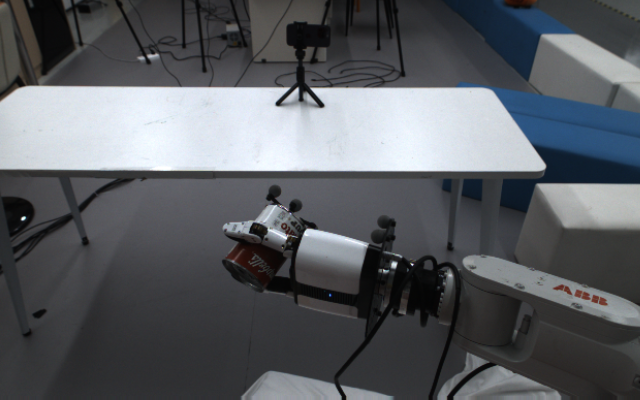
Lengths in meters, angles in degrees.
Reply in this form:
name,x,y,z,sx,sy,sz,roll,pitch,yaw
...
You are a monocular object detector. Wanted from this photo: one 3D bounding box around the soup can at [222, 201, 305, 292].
name,x,y,z,sx,sy,sz,roll,pitch,yaw
soup can,-0.072,0.062,0.643,0.067,0.067,0.101,23,60,27
